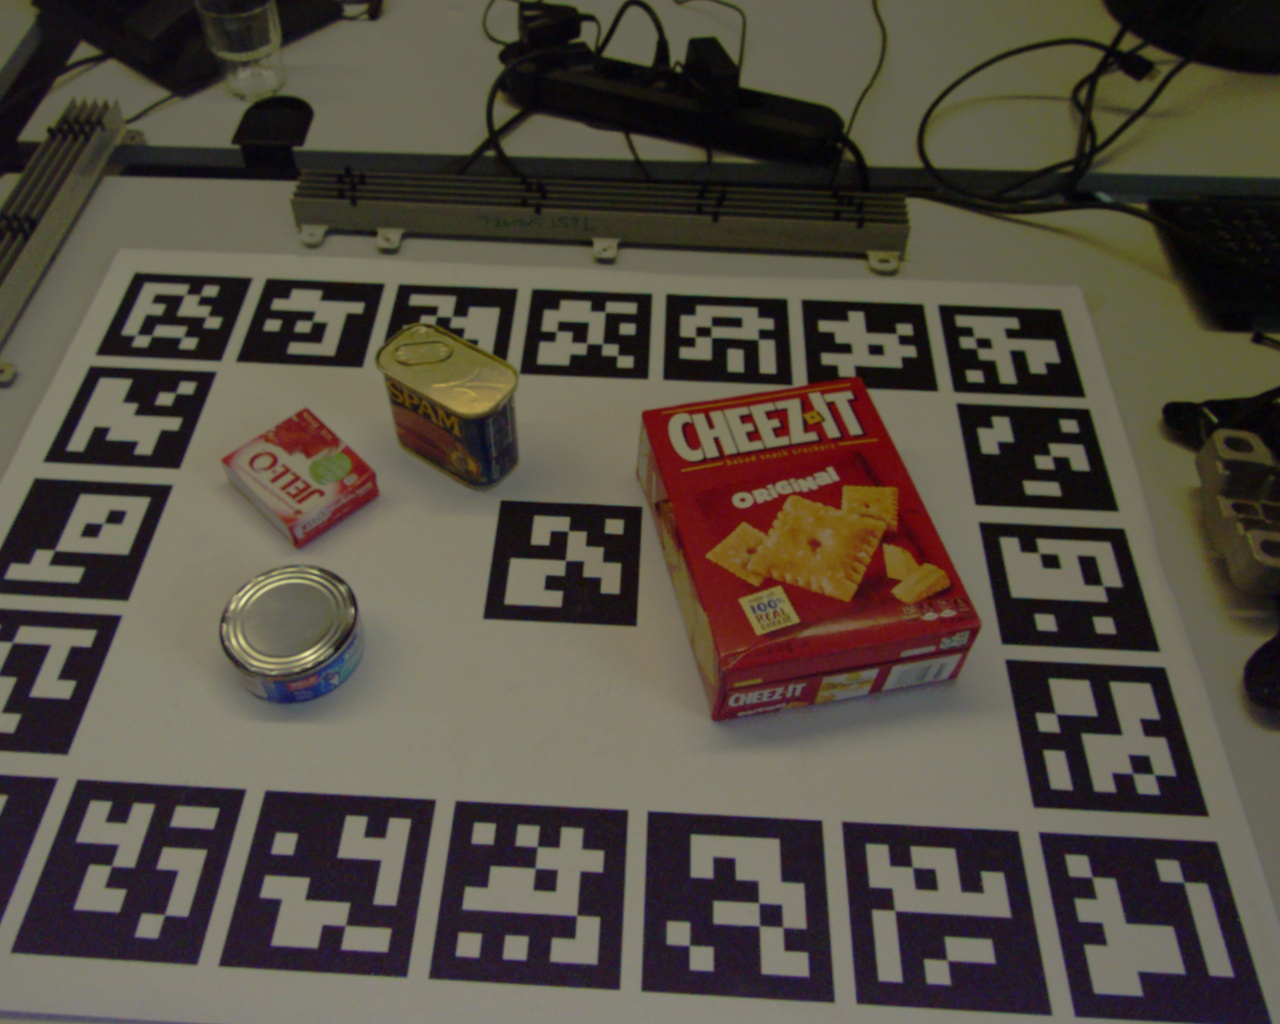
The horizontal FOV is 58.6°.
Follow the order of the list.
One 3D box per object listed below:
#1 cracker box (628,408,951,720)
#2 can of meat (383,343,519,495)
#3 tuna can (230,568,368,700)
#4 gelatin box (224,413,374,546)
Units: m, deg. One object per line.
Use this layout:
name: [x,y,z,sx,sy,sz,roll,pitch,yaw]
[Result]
cracker box: [0.097,0.027,0.805,0.163,0.072,0.215,-10,50,-11]
can of meat: [-0.142,-0.069,0.874,0.103,0.083,0.057,27,54,20]
tuna can: [-0.227,0.082,0.766,0.086,0.033,0.086,0,53,0]
gelatin box: [-0.256,-0.027,0.862,0.090,0.030,0.073,39,56,24]
